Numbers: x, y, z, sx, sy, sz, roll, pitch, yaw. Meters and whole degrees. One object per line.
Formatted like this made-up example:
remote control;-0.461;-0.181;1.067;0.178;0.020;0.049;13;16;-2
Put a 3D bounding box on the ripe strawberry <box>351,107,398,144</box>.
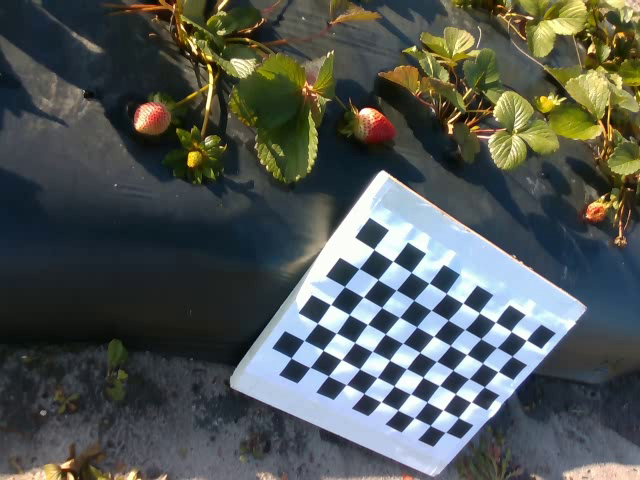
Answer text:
ripe strawberry;0.066;-0.131;0.653;0.064;0.044;0.043;13;19;-18
